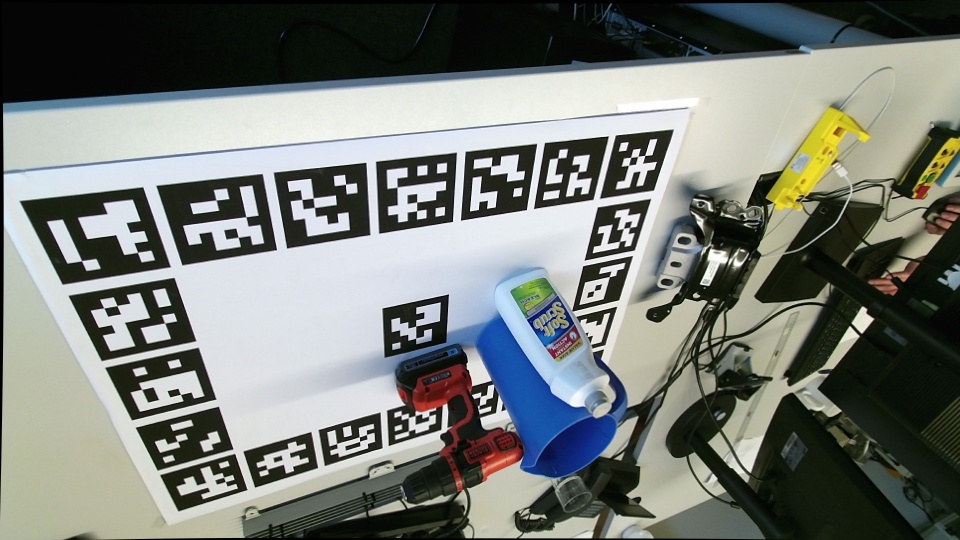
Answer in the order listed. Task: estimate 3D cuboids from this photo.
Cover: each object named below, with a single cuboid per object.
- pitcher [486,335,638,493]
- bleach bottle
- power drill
[{"bbox_3d":[0.115,0.202,0.837,0.189,0.241,0.133,-33,131,-4],"label":"pitcher"},{"bbox_3d":[0.139,0.127,0.768,0.103,0.250,0.068,-19,129,-17],"label":"bleach bottle"},{"bbox_3d":[-0.043,0.244,0.793,0.185,0.186,0.057,-13,125,-14],"label":"power drill"}]
